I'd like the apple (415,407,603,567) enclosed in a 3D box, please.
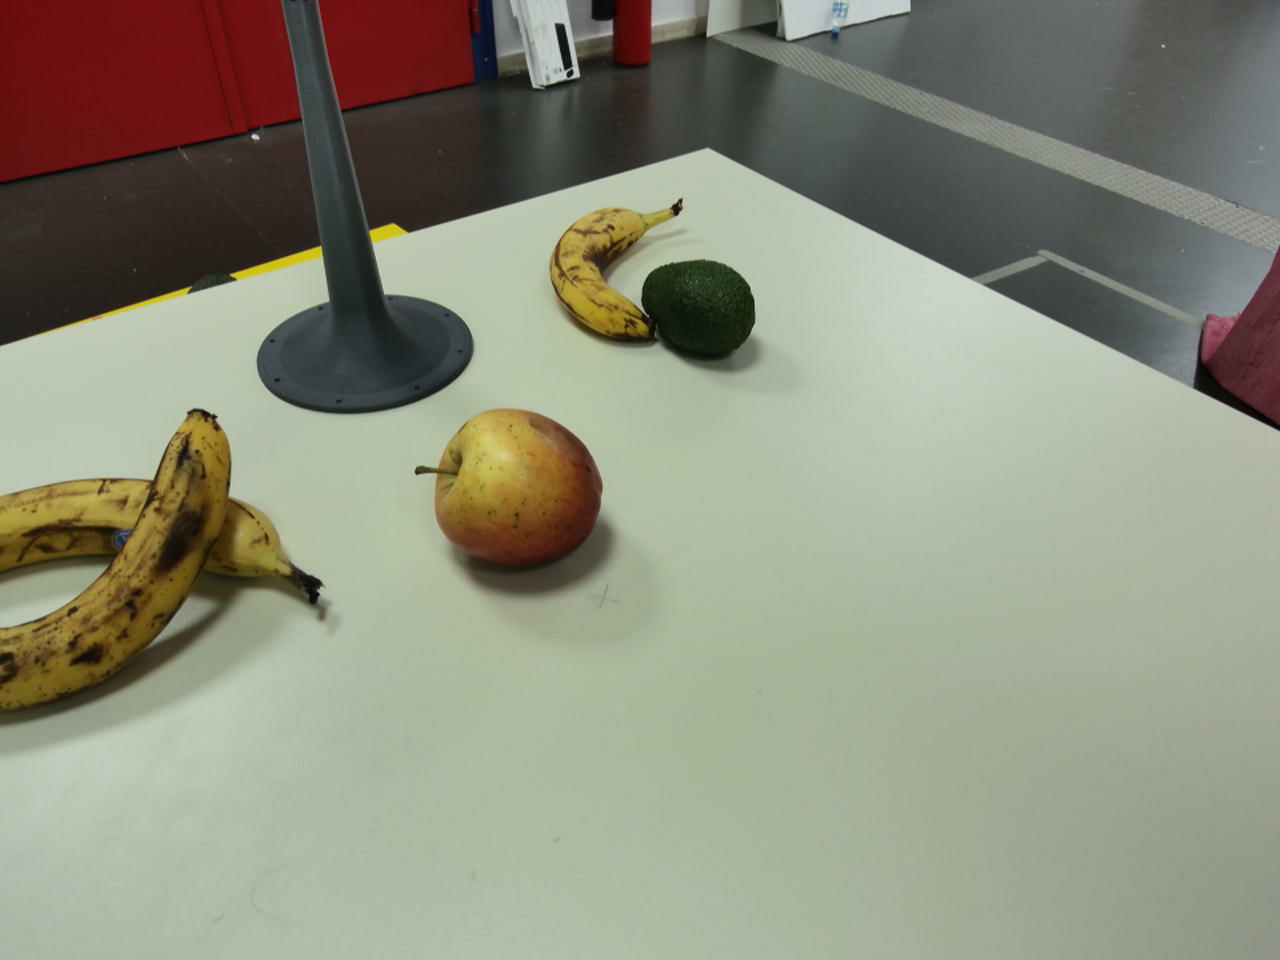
[{"bbox_3d":[-0.067,0.004,0.540,0.093,0.084,0.086,13,39,13],"label":"apple"}]
